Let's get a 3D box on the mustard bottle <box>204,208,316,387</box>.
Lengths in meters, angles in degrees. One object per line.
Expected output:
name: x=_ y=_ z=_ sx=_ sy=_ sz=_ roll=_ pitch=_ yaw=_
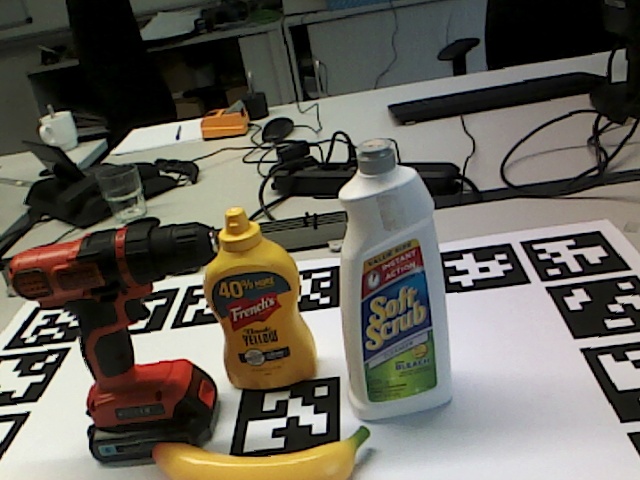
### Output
mustard bottle: x=-0.064 y=0.057 z=0.619 sx=0.096 sy=0.191 sz=0.058 roll=-7 pitch=27 yaw=5

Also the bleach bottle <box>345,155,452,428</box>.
bleach bottle: x=0.060 y=0.048 z=0.546 sx=0.102 sy=0.250 sz=0.068 roll=-12 pitch=28 yaw=-2

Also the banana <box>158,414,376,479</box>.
banana: x=-0.049 y=0.188 z=0.526 sx=0.198 sy=0.038 sz=0.074 roll=-8 pitch=31 yaw=9

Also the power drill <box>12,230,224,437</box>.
power drill: x=-0.168 y=0.083 z=0.567 sx=0.184 sy=0.186 sz=0.057 roll=-7 pitch=20 yaw=1
